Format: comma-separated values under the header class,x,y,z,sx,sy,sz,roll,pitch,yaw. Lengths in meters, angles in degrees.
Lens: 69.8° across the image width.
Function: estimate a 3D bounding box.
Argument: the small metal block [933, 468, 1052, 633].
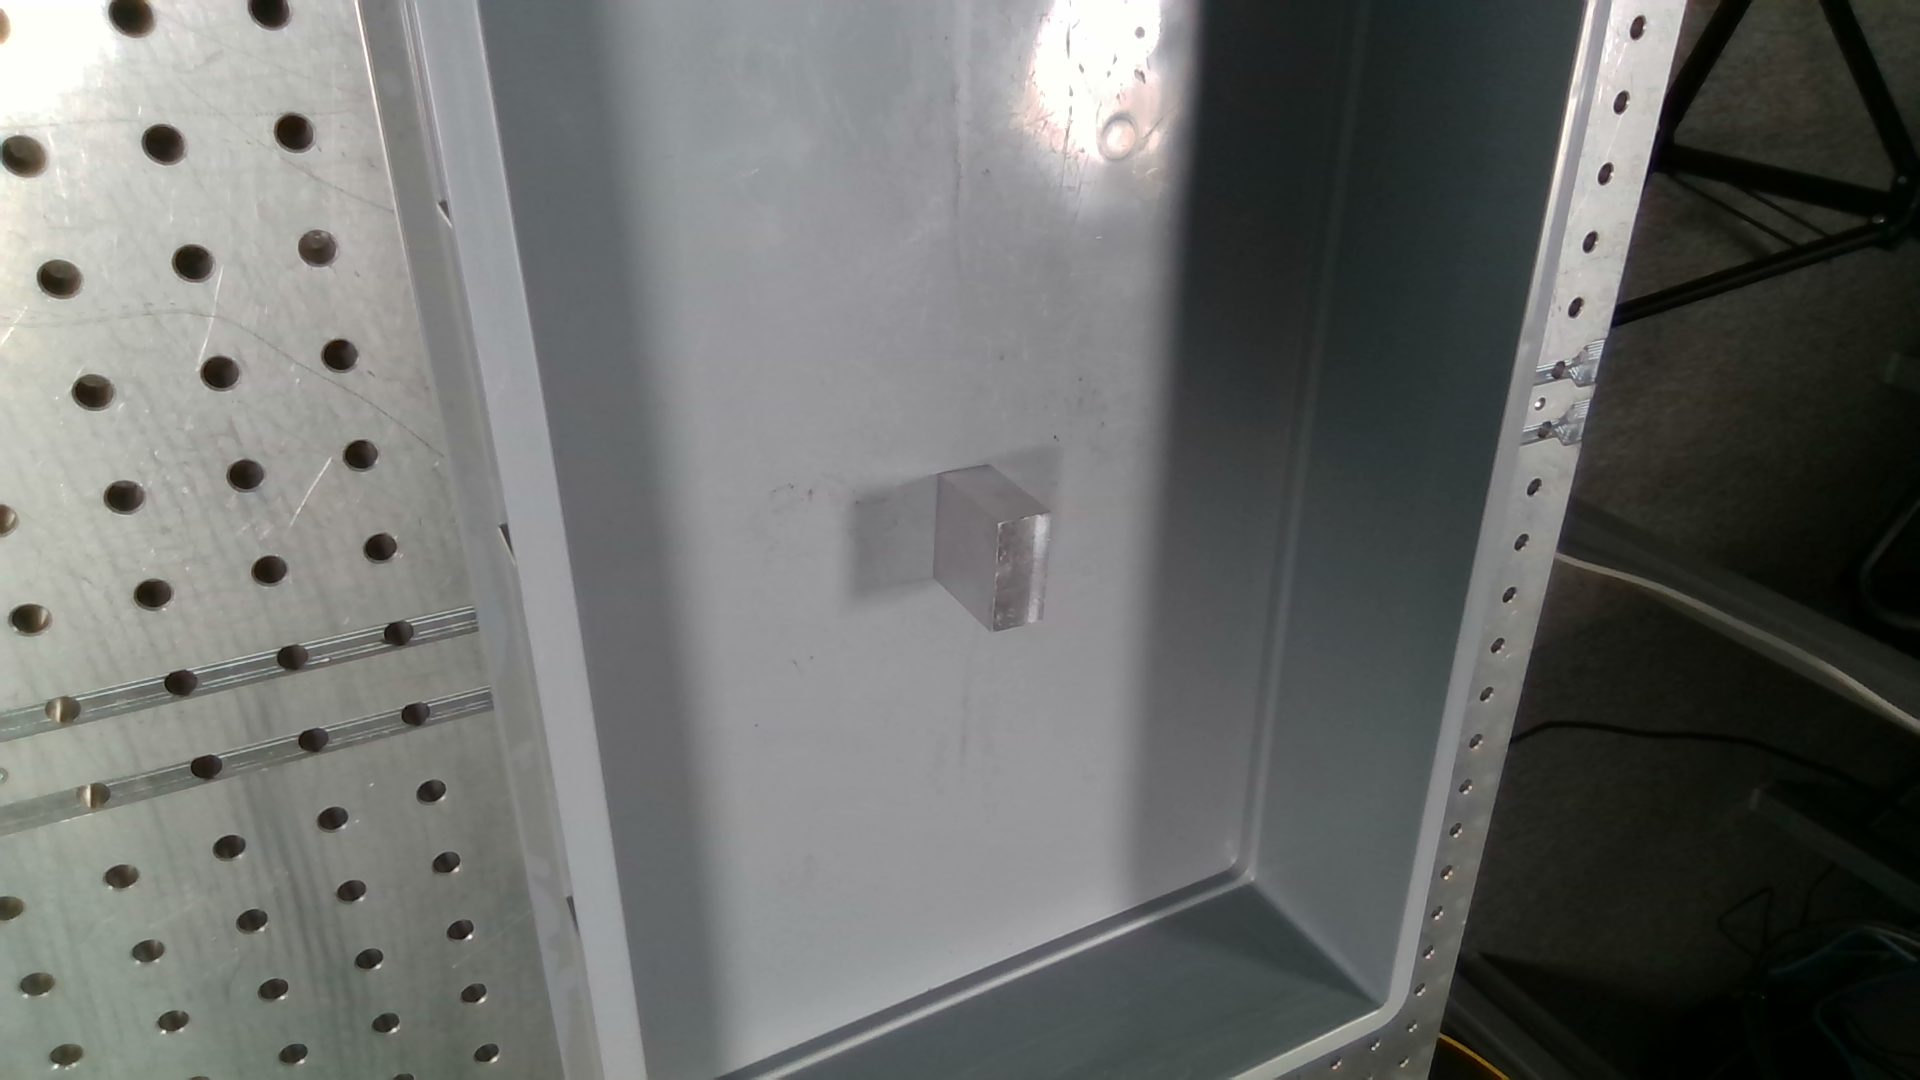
class,x,y,z,sx,sy,sz,roll,pitch,yaw
small metal block,0.012,0.003,0.570,0.025,0.050,0.050,-12,120,-27
